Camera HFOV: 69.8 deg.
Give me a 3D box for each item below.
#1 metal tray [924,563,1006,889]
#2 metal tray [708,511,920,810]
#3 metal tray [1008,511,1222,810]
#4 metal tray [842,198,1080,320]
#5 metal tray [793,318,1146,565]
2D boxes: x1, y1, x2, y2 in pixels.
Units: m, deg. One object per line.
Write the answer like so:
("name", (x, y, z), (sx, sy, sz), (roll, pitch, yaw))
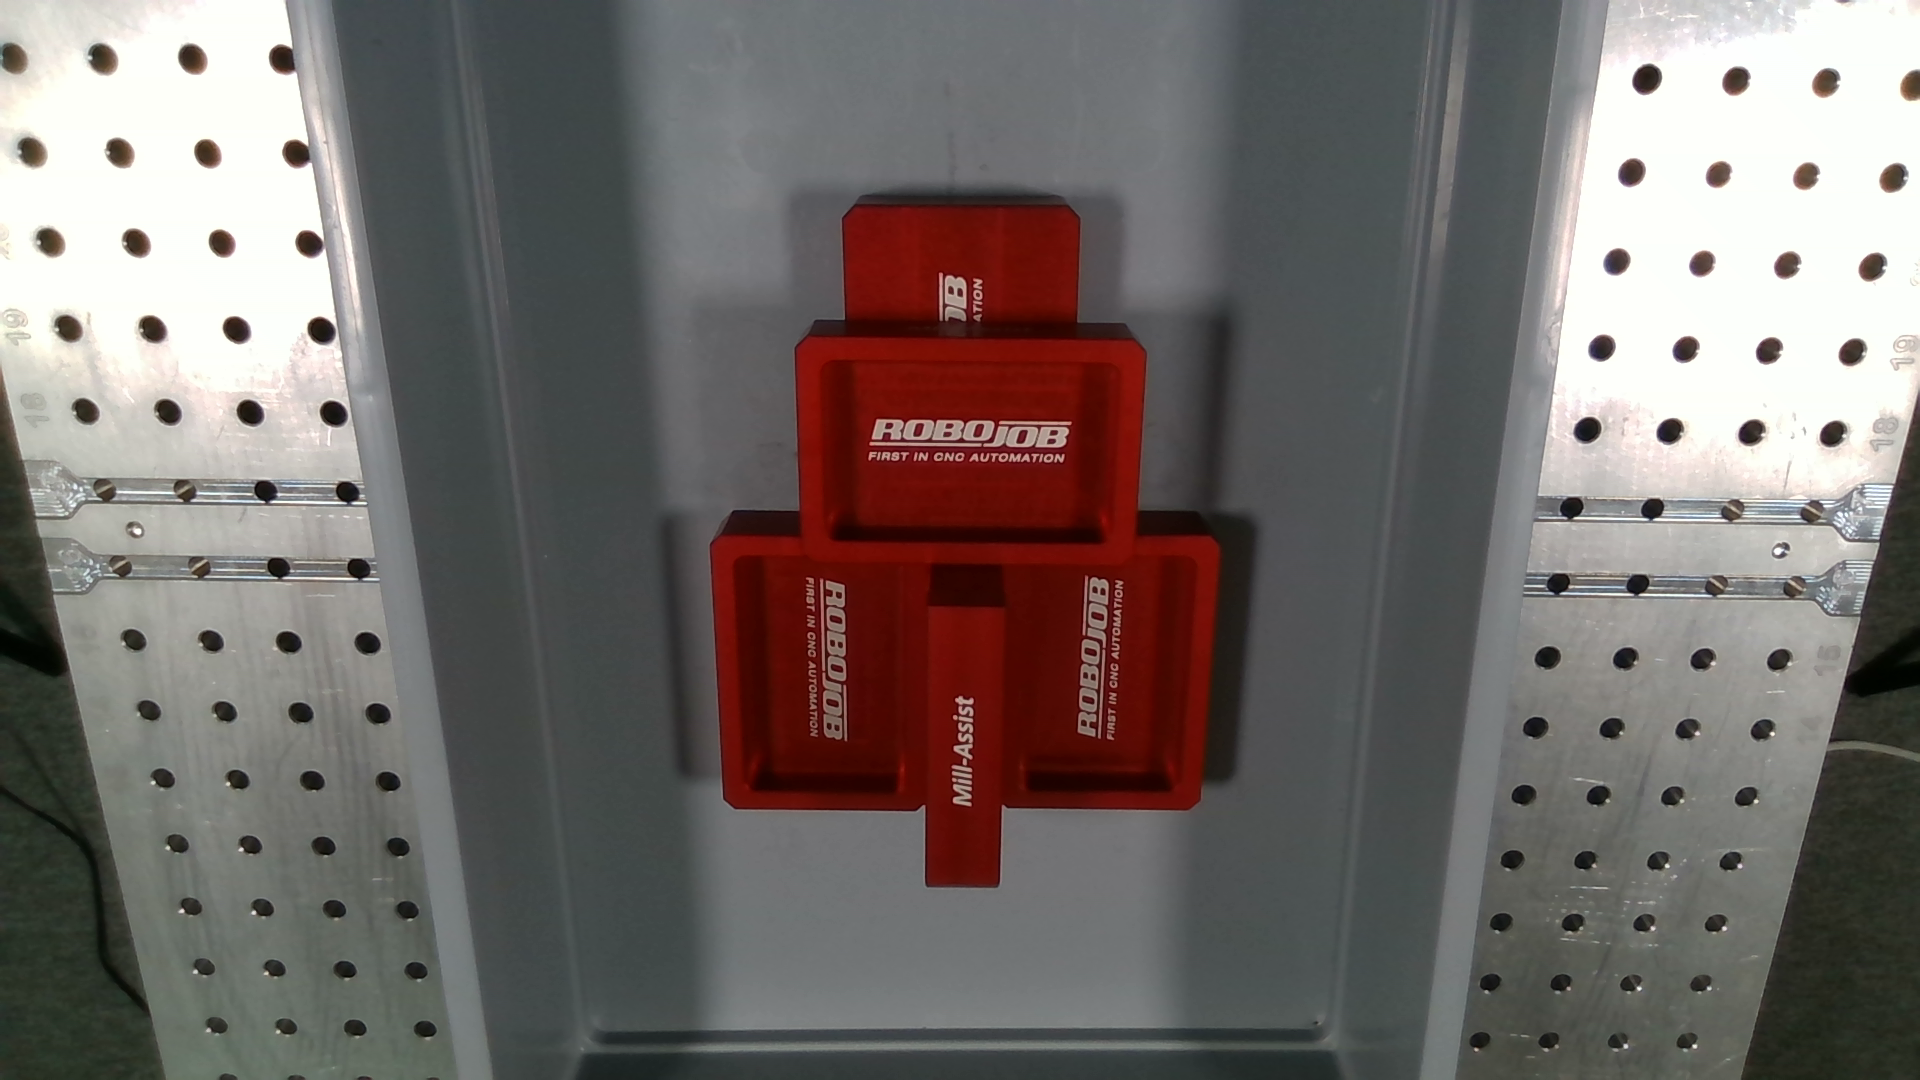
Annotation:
("metal tray", (0.001, 0.066, 0.572), (0.030, 0.090, 0.130), (1, 110, 0))
("metal tray", (-0.059, 0.054, 0.600), (0.090, 0.030, 0.130), (1, 110, 0))
("metal tray", (0.062, 0.053, 0.601), (0.090, 0.030, 0.130), (1, 110, 0))
("metal tray", (0.000, -0.070, 0.553), (0.090, 0.030, 0.130), (0, 110, 0))
("metal tray", (0.003, -0.038, 0.534), (0.130, 0.030, 0.090), (1, 110, 0))
